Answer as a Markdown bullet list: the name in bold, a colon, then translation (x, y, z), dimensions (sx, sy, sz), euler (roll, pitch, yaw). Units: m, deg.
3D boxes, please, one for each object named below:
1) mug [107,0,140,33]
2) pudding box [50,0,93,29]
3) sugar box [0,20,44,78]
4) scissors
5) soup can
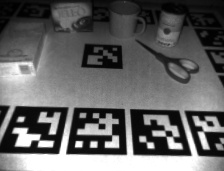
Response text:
- **mug**: translation (0.037, -0.201, 0.624), dimensions (0.094, 0.082, 0.116), euler (-29, 55, -23)
- **pudding box**: translation (-0.112, -0.209, 0.610), dimensions (0.114, 0.090, 0.038), euler (-6, 56, -9)
- **sugar box**: translation (-0.233, -0.097, 0.542), dimensions (0.093, 0.045, 0.175), euler (-1, 51, -3)
- **scissors**: translation (0.128, -0.076, 0.564), dimensions (0.088, 0.016, 0.200), euler (-38, 62, -20)
- **soup can**: translation (0.153, -0.170, 0.603), dimensions (0.068, 0.102, 0.067), euler (1, 48, -1)
